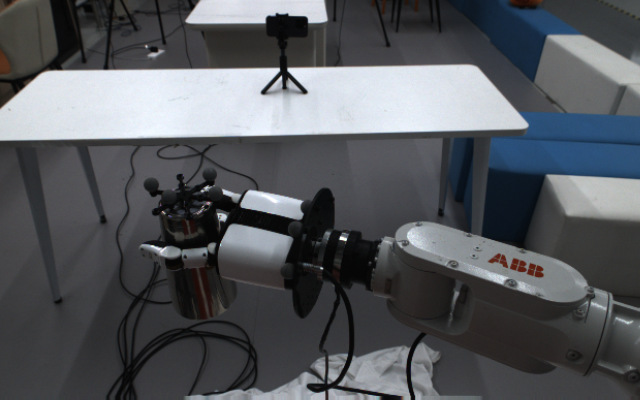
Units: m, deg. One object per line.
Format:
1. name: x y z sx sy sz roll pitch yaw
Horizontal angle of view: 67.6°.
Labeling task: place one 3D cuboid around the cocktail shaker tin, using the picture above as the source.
1. cocktail shaker tin: -0.160 0.066 0.638 0.093 0.170 0.093 1 39 0
